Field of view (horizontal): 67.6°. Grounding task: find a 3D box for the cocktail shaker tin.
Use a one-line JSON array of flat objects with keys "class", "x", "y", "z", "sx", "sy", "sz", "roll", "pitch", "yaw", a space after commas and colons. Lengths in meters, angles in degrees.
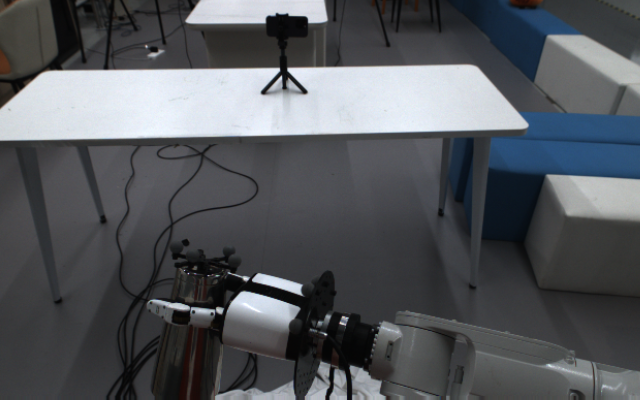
[{"class": "cocktail shaker tin", "x": -0.165, "y": 0.170, "z": 0.645, "sx": 0.093, "sy": 0.170, "sz": 0.093, "roll": 10, "pitch": 9, "yaw": -2}]
